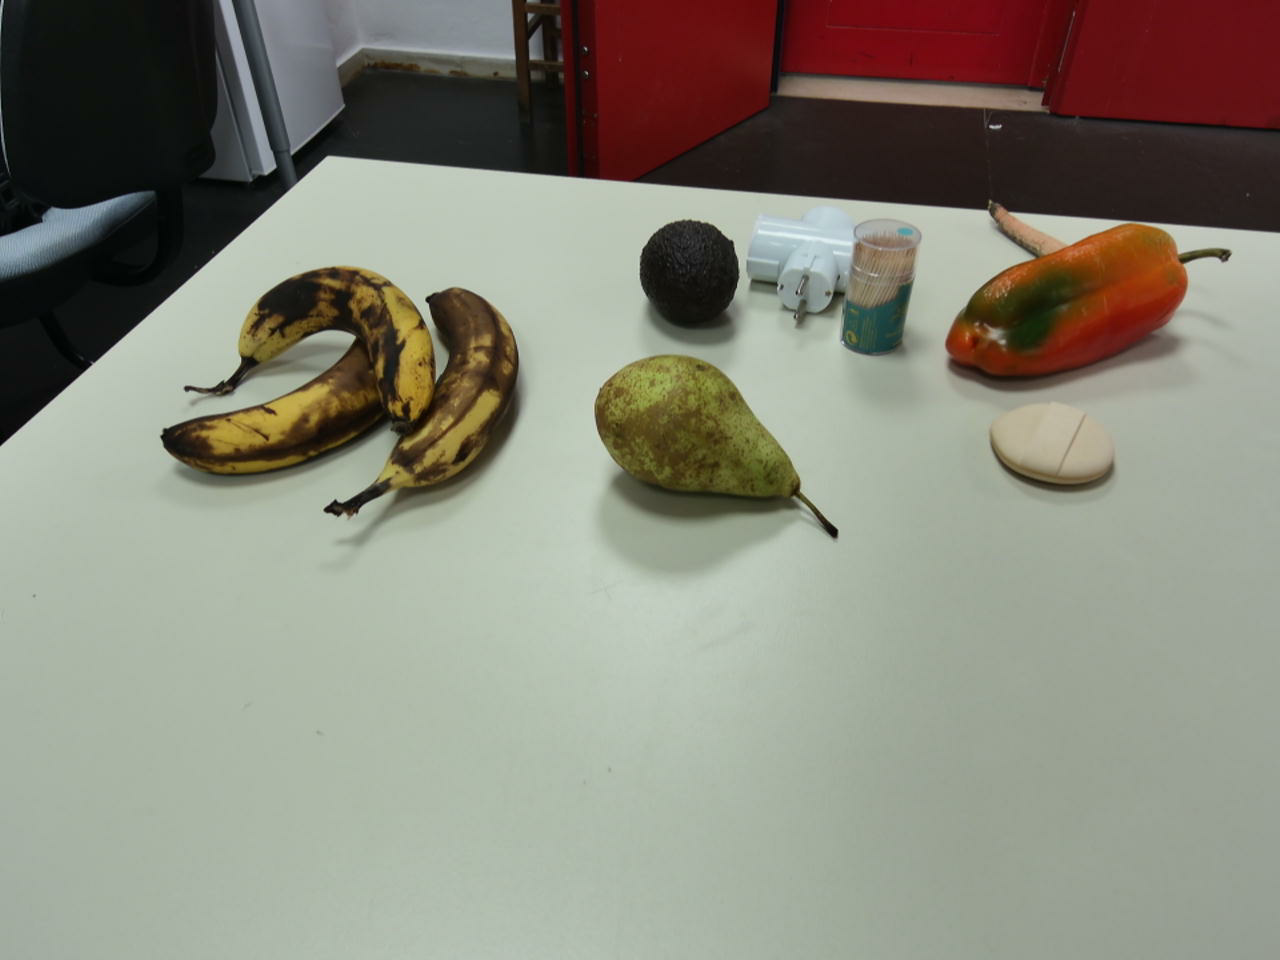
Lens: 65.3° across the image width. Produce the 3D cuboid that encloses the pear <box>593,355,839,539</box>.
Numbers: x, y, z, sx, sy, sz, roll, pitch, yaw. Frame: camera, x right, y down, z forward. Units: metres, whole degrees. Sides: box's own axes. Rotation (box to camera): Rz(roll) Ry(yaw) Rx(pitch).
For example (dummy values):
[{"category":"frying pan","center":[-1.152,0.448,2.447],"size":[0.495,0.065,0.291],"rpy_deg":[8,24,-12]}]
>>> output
[{"category":"pear","center":[0.041,-0.027,0.520],"size":[0.128,0.075,0.071],"rpy_deg":[4,39,4]}]
